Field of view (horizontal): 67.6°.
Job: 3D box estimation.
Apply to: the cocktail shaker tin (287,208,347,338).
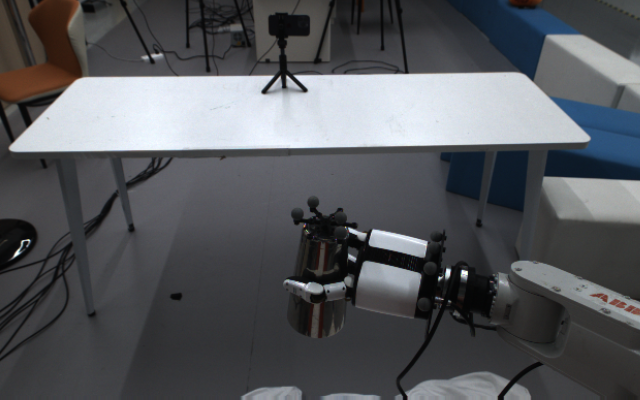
[{"bbox_3d":[0.002,0.109,0.715,0.093,0.170,0.093,3,31,-2],"label":"cocktail shaker tin"}]
